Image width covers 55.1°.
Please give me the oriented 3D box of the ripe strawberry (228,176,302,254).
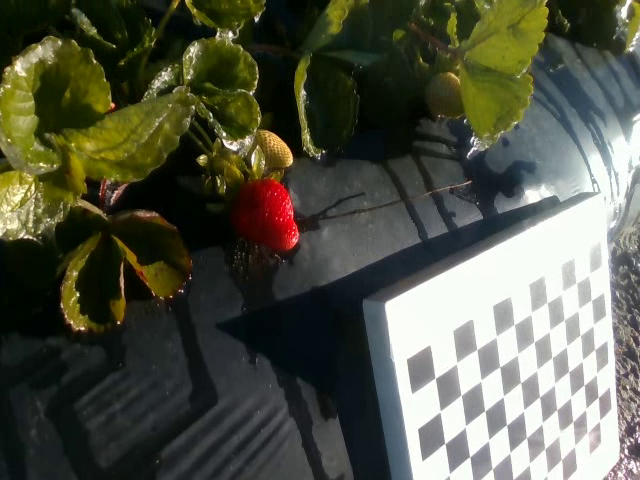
[{"bbox_3d":[-0.019,-0.007,0.268,0.039,0.040,0.039,-27,47,-25],"label":"ripe strawberry"}]
